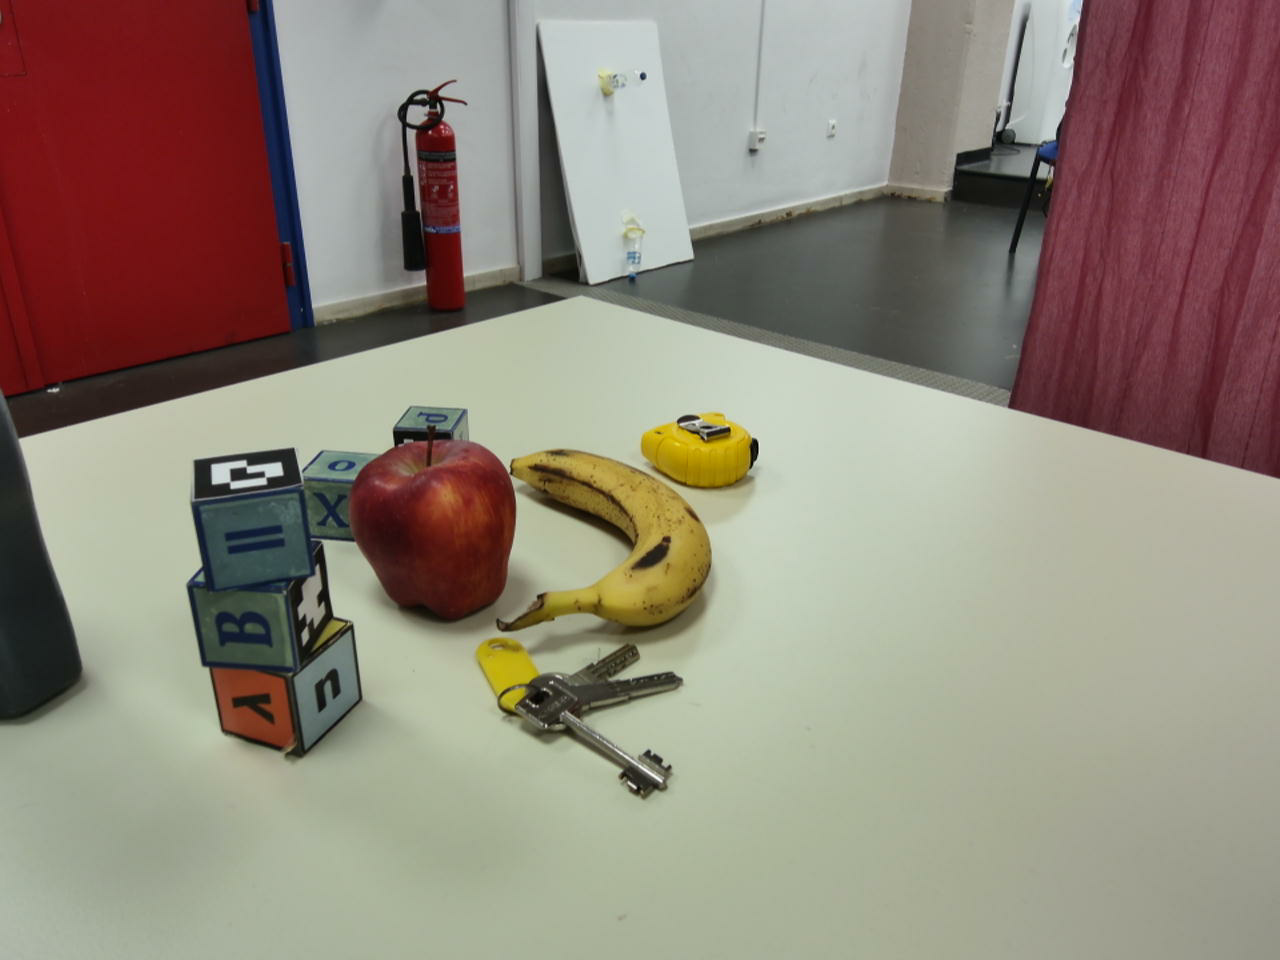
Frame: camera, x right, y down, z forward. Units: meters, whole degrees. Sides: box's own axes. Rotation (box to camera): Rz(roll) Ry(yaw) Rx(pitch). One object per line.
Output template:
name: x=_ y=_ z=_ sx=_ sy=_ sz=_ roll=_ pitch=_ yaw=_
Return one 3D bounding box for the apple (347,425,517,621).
apple: x=-0.099 y=0.017 z=0.483 sx=0.083 sy=0.090 sz=0.083 roll=1 pitch=24 yaw=-1
